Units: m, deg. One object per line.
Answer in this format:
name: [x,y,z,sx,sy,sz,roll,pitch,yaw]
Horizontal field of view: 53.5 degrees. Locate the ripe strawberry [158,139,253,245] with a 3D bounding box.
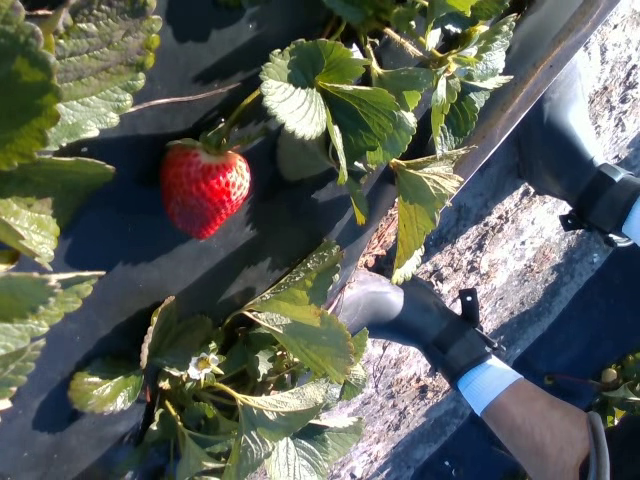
ripe strawberry: [-0.052,-0.024,0.275,0.044,0.056,0.042,17,21,-1]
